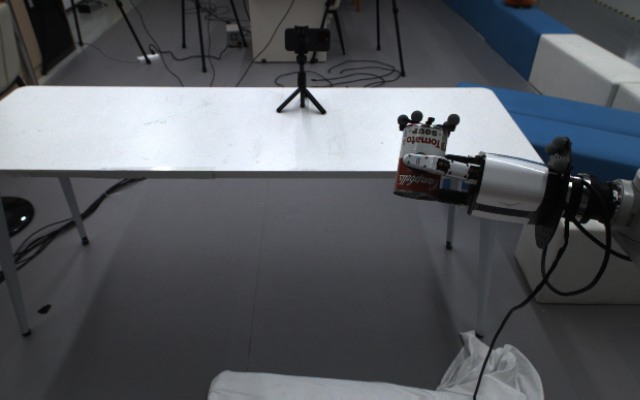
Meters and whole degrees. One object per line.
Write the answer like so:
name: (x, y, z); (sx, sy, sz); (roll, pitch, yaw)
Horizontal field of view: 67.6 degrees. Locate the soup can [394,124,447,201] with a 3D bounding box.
soup can: (0.150, -0.057, 0.719); (0.067, 0.101, 0.067); (9, -5, 1)
